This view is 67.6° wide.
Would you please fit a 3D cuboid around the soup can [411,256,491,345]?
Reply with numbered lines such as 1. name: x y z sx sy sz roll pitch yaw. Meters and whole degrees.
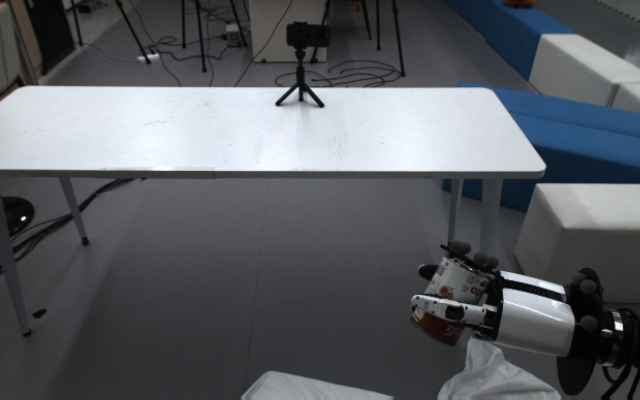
1. soup can: 0.174 0.129 0.637 0.067 0.101 0.067 26 5 -3
